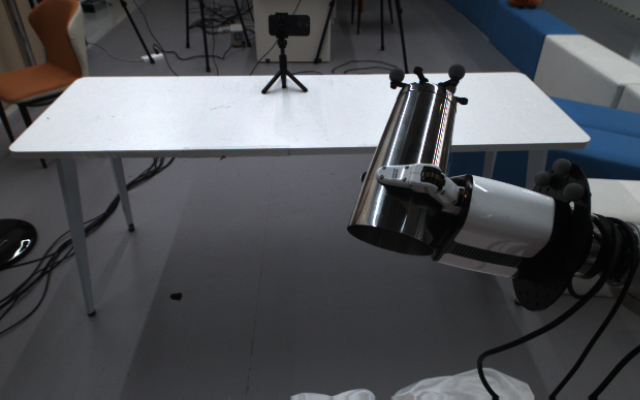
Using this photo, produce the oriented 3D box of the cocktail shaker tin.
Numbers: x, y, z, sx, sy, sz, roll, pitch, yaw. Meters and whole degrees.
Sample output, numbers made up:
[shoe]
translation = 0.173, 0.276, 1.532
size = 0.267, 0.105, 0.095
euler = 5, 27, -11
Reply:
[cocktail shaker tin]
translation = 0.097, -0.035, 0.520
size = 0.093, 0.093, 0.170
euler = 13, 74, 15
